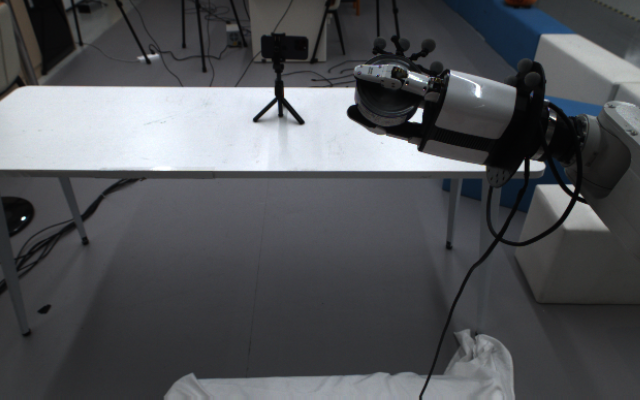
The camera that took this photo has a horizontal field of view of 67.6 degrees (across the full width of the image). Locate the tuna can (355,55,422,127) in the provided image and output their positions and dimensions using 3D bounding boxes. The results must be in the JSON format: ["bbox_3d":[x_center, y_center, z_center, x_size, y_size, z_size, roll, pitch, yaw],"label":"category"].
[{"bbox_3d":[0.086,-0.140,0.608,0.085,0.034,0.085,0,72,0],"label":"tuna can"}]
